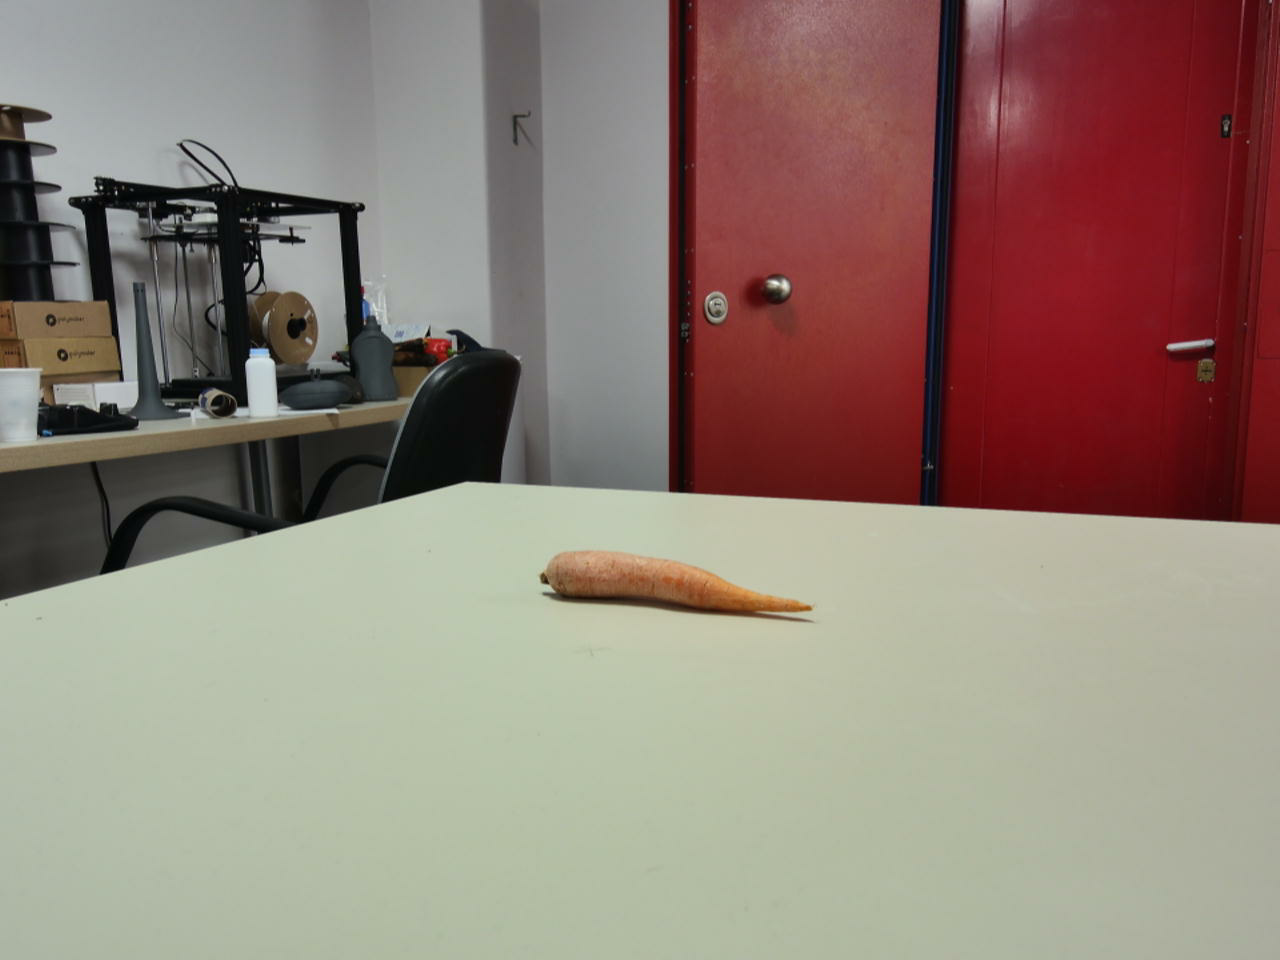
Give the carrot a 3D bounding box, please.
[{"bbox_3d":[0.016,0.057,0.557,0.163,0.029,0.031,3,7,23],"label":"carrot"}]
